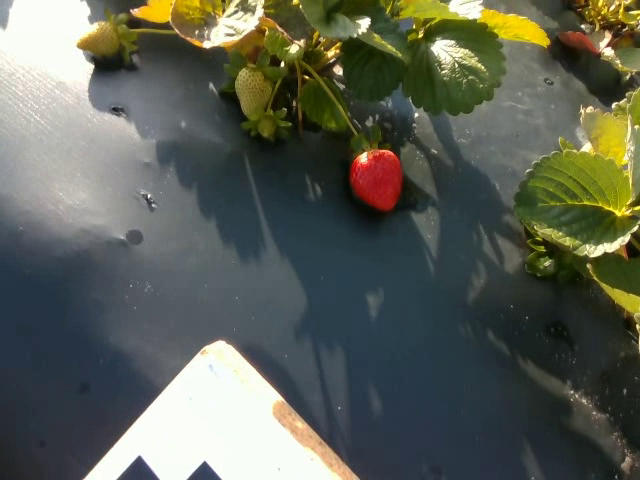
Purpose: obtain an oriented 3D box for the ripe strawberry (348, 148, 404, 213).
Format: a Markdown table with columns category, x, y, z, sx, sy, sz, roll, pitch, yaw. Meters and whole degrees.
| category | x | y | z | sx | sy | sz | roll | pitch | yaw |
| --- | --- | --- | --- | --- | --- | --- | --- | --- | --- |
| ripe strawberry | 0.033 | -0.029 | 0.329 | 0.030 | 0.045 | 0.033 | -19 | -35 | 18 |
